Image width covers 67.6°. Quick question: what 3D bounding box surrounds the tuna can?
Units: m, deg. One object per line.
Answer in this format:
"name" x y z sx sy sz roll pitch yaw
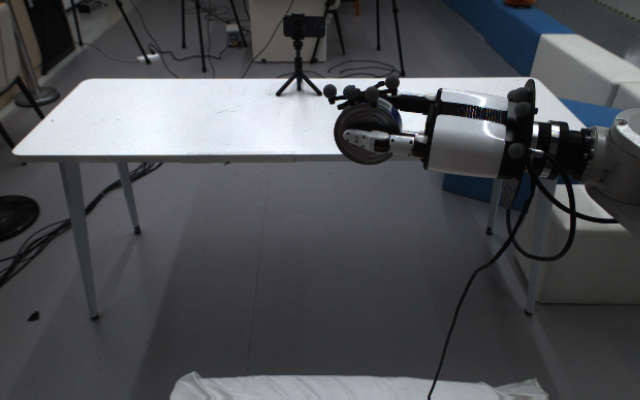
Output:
"tuna can" 0.064 -0.092 0.630 0.085 0.085 0.034 10 33 11
